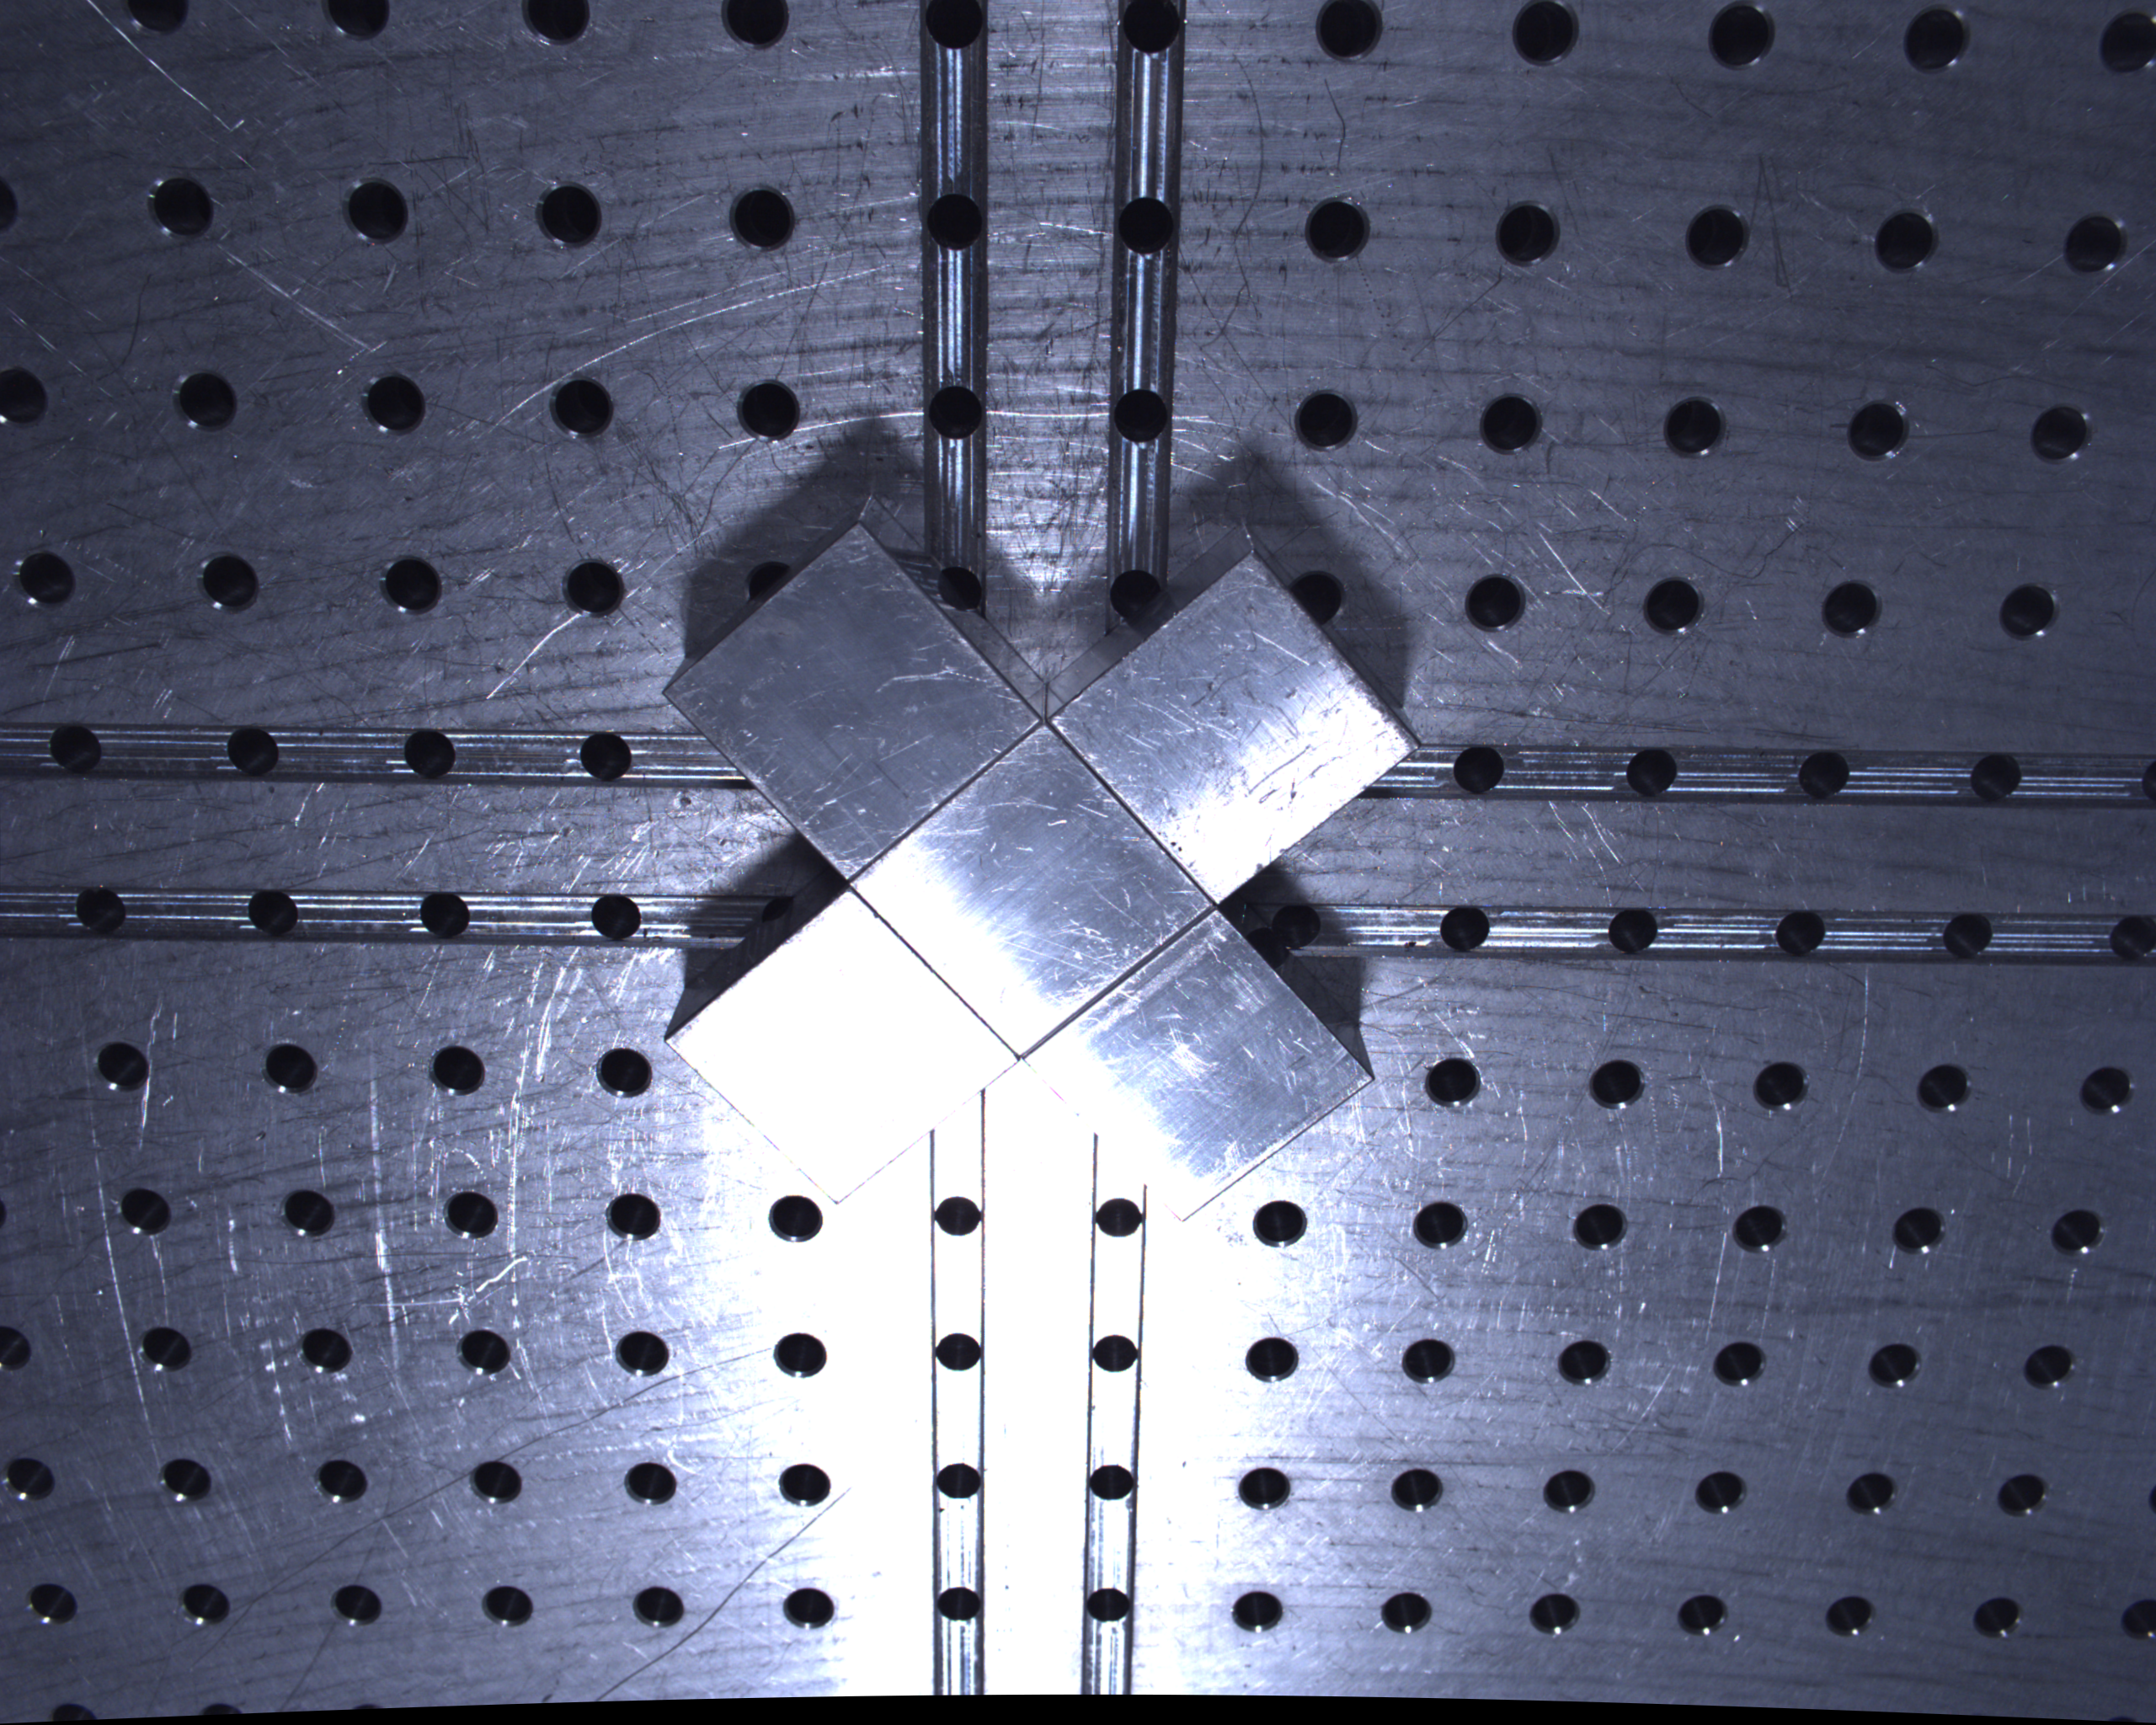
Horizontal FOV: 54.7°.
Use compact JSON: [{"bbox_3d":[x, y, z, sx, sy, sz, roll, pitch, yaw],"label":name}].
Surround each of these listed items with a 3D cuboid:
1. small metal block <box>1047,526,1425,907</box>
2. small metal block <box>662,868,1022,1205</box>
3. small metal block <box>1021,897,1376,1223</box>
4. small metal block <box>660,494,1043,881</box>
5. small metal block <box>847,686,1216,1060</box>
[{"bbox_3d":[0.030,-0.029,0.403,0.050,0.025,0.050,-39,106,13],"label":"small metal block"},{"bbox_3d":[-0.047,0.033,0.425,0.050,0.025,0.050,-39,106,13],"label":"small metal block"},{"bbox_3d":[0.024,0.037,0.427,0.050,0.025,0.050,-39,106,13],"label":"small metal block"},{"bbox_3d":[-0.042,-0.034,0.400,0.050,0.025,0.050,-39,106,13],"label":"small metal block"},{"bbox_3d":[-0.009,0.002,0.413,0.050,0.025,0.050,-39,106,13],"label":"small metal block"}]
